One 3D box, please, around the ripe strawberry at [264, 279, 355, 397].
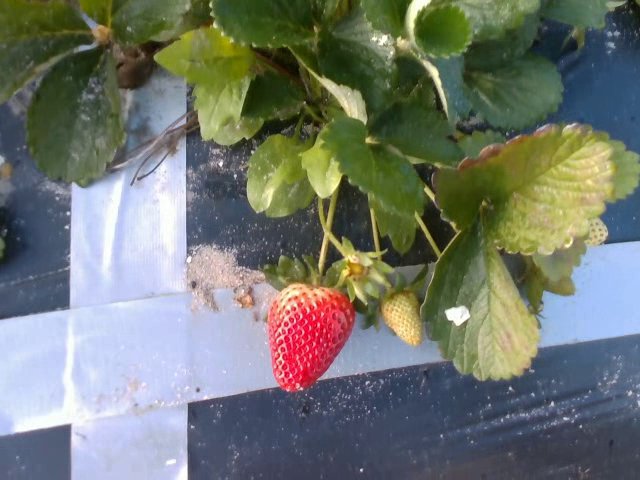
[{"bbox_3d":[-0.002,0.022,0.133,0.023,0.026,0.021,8,-26,15],"label":"ripe strawberry"}]
